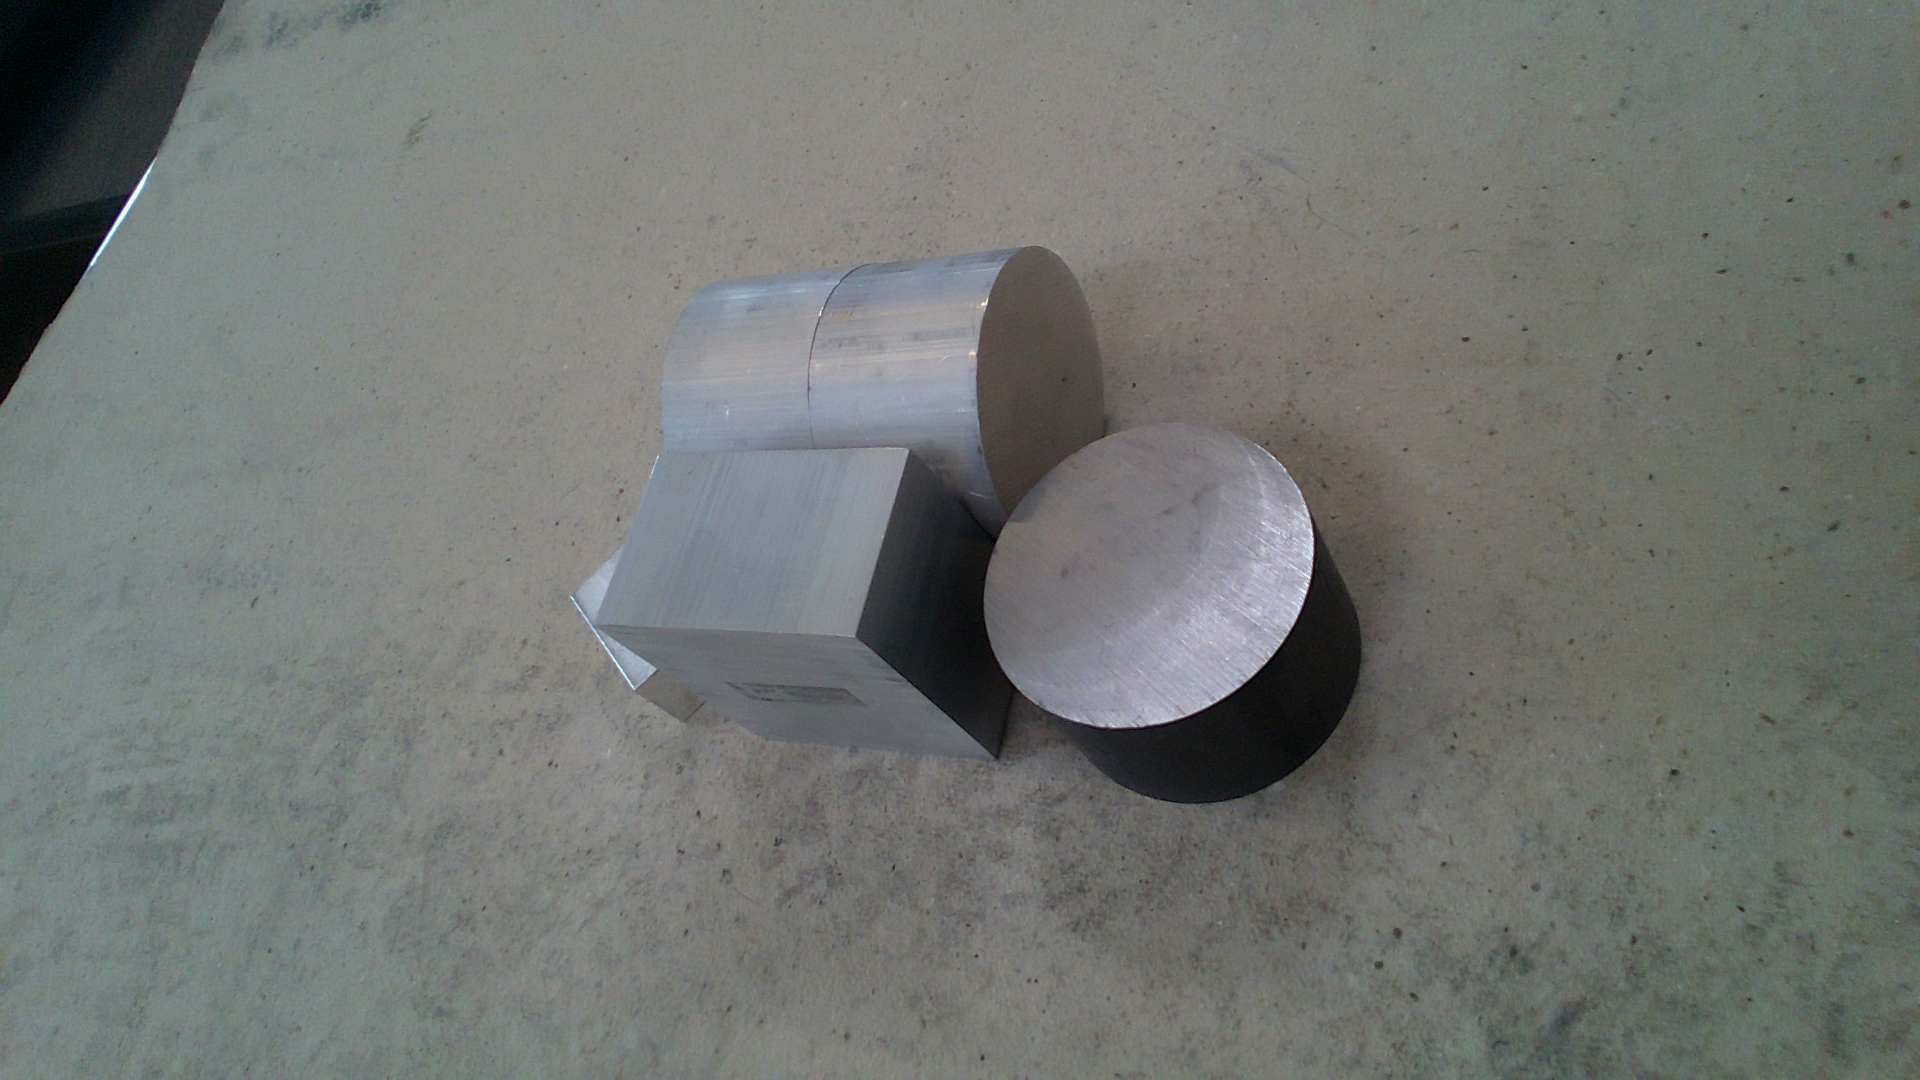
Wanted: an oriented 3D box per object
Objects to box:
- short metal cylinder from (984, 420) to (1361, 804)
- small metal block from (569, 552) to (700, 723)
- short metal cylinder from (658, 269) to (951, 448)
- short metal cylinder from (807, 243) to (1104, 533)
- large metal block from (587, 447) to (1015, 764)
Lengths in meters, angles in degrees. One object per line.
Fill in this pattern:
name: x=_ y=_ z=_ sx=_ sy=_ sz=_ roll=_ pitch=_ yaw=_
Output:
short metal cylinder: x=0.053 y=0.018 z=0.338 sx=0.080 sy=0.050 sz=0.080 roll=-13 pitch=56 yaw=21
small metal block: x=-0.086 y=0.019 z=0.429 sx=0.050 sy=0.025 sz=0.050 roll=-44 pitch=51 yaw=-2
short metal cylinder: x=-0.043 y=-0.039 z=0.406 sx=0.050 sy=0.080 sz=0.080 roll=1 pitch=62 yaw=29
short metal cylinder: x=0.001 y=-0.039 z=0.382 sx=0.050 sy=0.080 sz=0.080 roll=1 pitch=62 yaw=29
large metal block: x=-0.036 y=0.019 z=0.367 sx=0.080 sy=0.080 sz=0.050 roll=1 pitch=62 yaw=29
